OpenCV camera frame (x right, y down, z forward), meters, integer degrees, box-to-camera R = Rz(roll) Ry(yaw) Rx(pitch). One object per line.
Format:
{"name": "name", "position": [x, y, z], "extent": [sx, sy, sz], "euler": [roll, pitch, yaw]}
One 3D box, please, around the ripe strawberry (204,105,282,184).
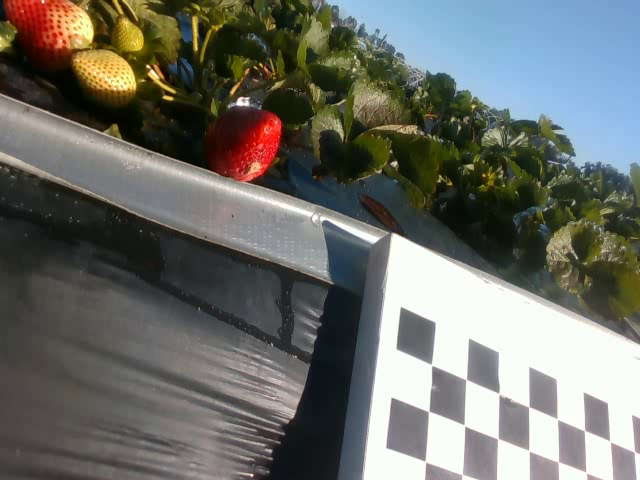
{"name": "ripe strawberry", "position": [-0.030, -0.041, 0.246], "extent": [0.036, 0.038, 0.045], "euler": [22, -18, -21]}
